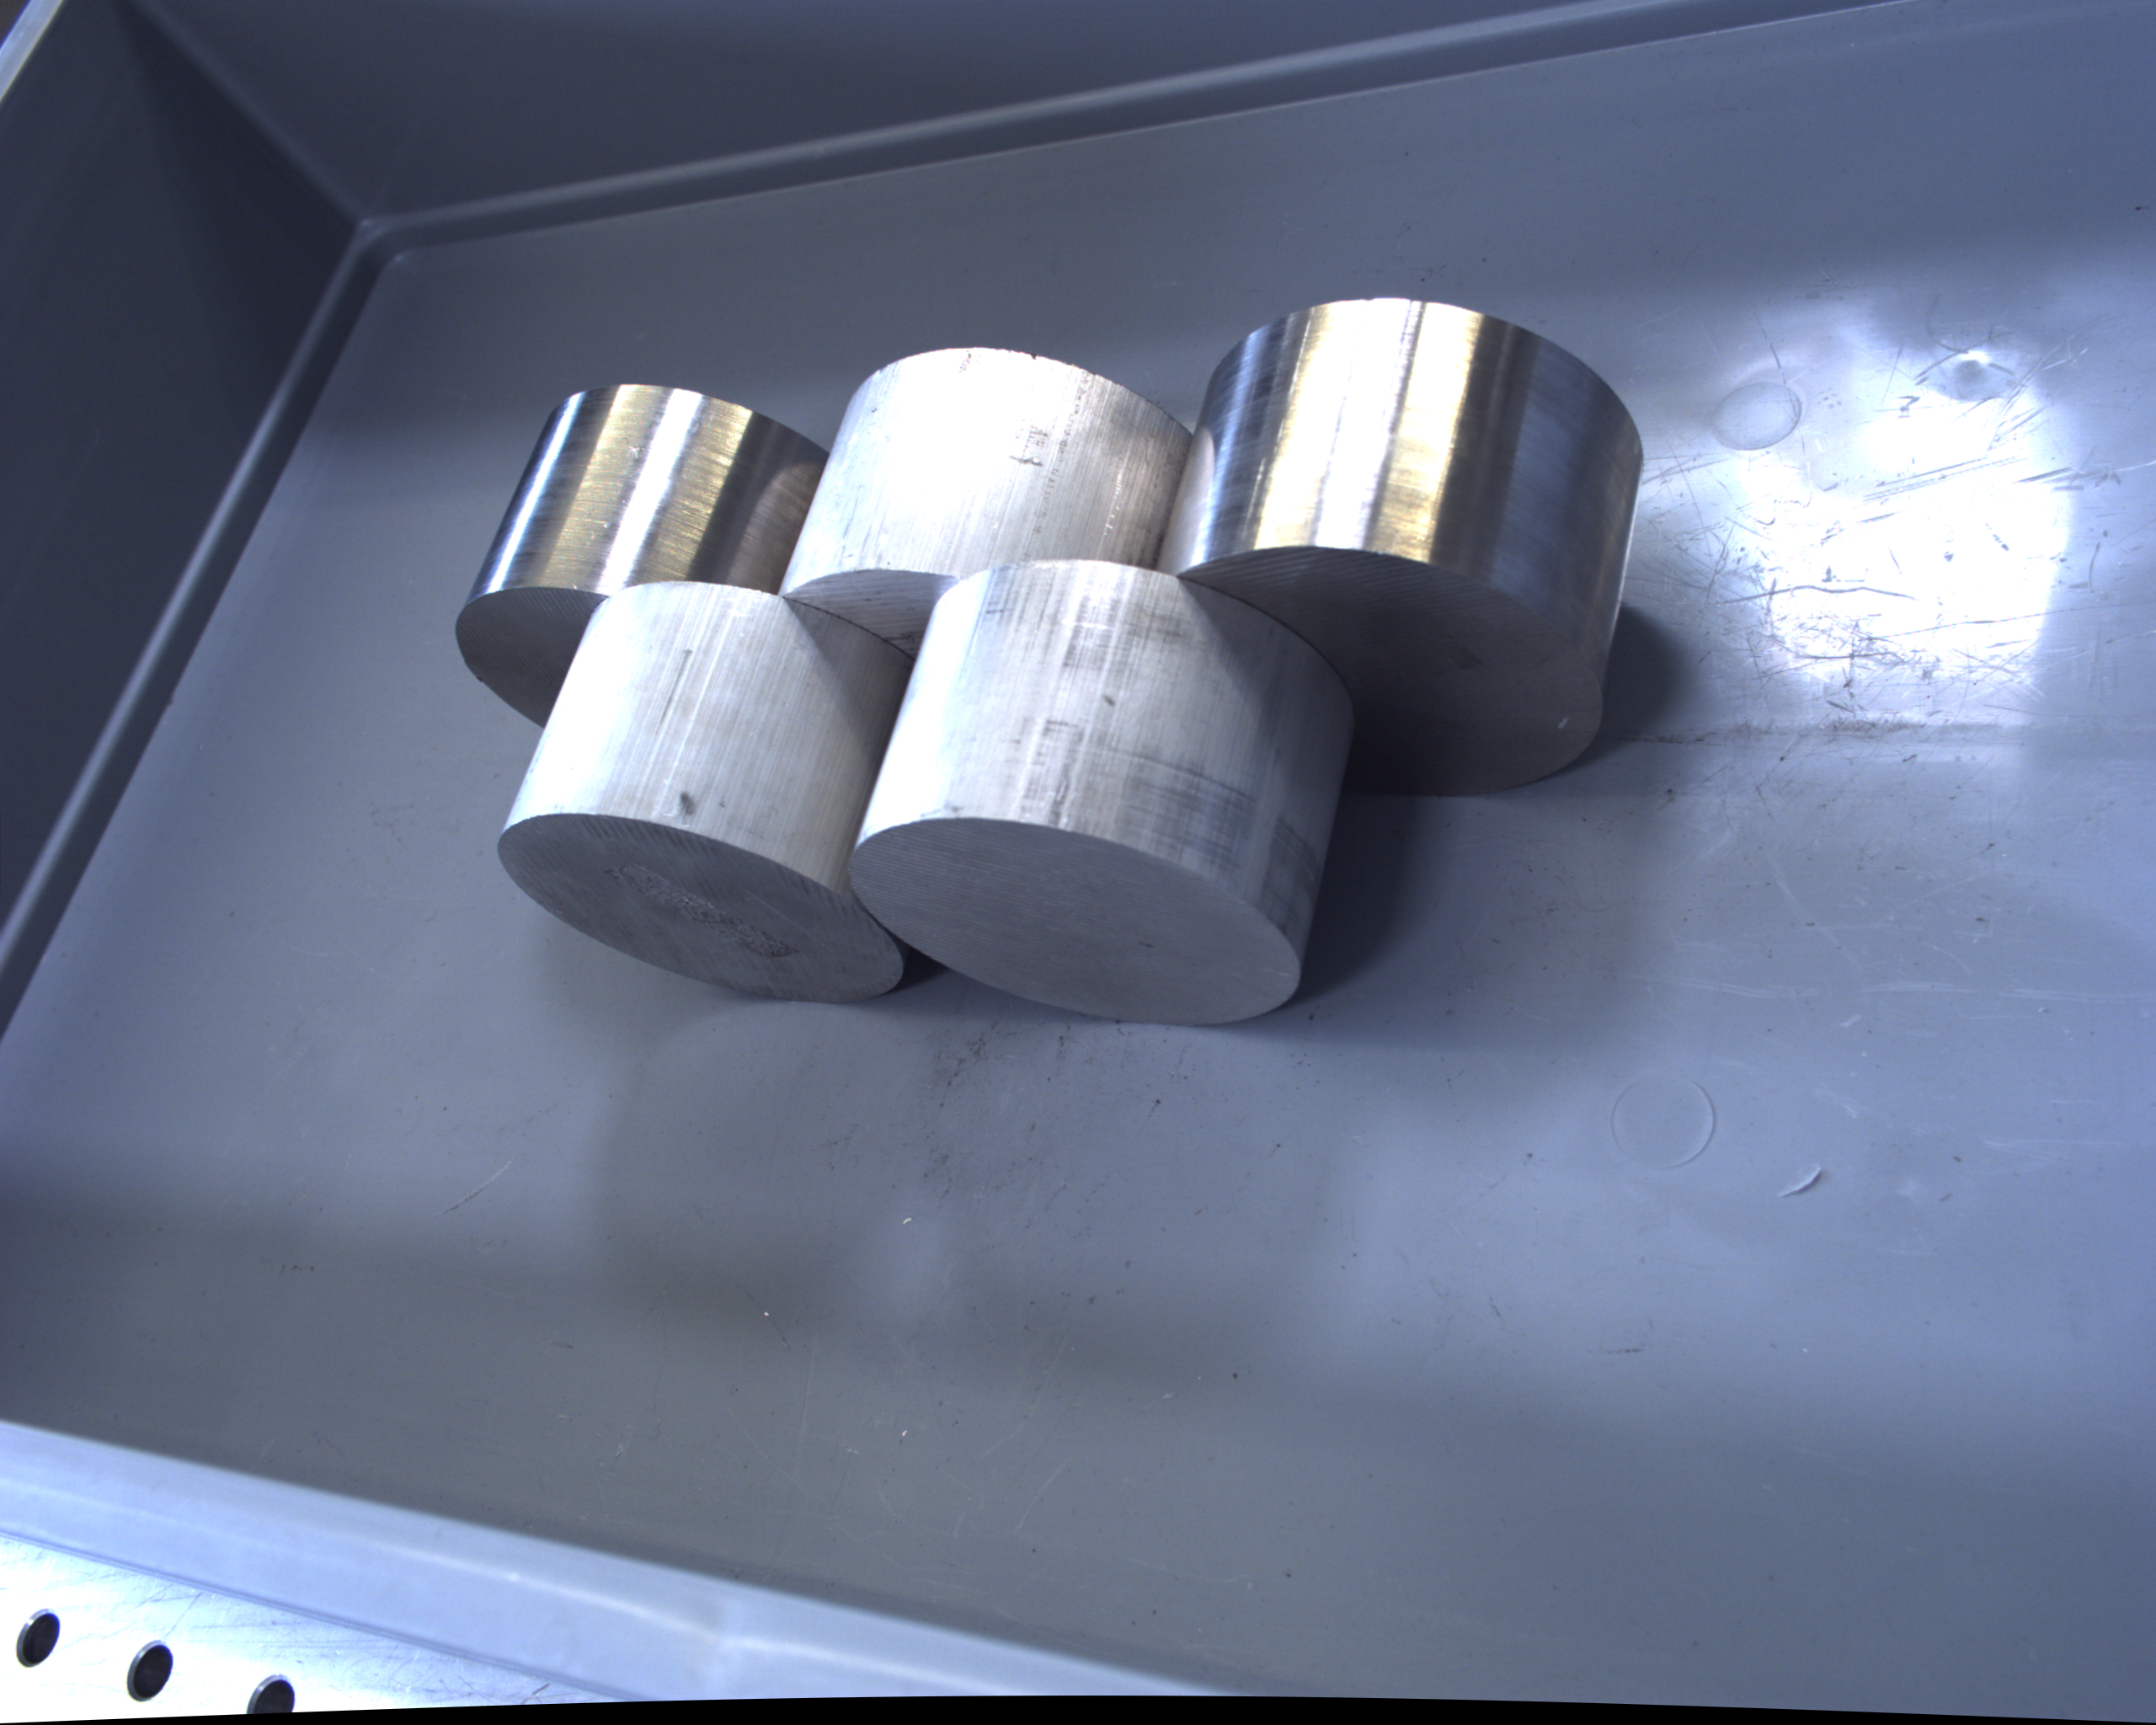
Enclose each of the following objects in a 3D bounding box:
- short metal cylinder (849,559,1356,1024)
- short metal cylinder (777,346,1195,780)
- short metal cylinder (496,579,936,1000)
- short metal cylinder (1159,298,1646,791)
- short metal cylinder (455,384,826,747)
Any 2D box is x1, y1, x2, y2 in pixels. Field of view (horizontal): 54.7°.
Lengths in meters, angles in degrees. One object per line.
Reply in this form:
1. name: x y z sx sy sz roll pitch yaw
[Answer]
1. short metal cylinder: 0.005 -0.010 0.372 0.080 0.080 0.050 1 62 28
2. short metal cylinder: -0.014 -0.055 0.410 0.080 0.080 0.050 1 62 28
3. short metal cylinder: -0.066 -0.012 0.411 0.080 0.080 0.050 1 62 28
4. short metal cylinder: 0.056 -0.054 0.372 0.080 0.080 0.050 2 63 29
5. short metal cylinder: -0.085 -0.057 0.449 0.080 0.080 0.050 1 62 28
